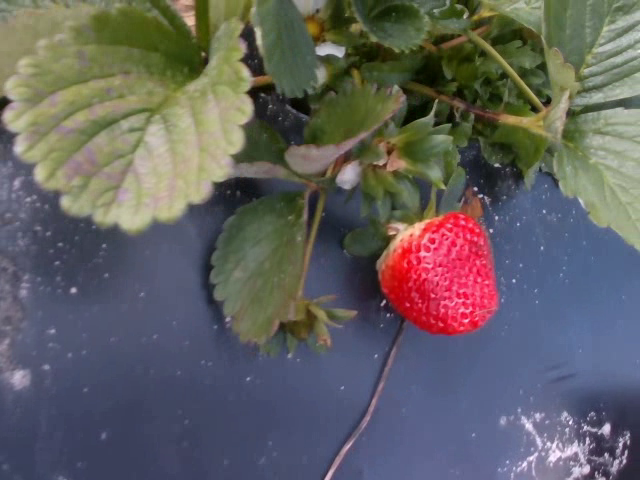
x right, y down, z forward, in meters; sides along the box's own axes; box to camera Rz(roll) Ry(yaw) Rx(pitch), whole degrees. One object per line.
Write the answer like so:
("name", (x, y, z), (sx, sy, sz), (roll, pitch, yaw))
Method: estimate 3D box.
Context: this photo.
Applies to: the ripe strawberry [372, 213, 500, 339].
("ripe strawberry", (0.049, 0.017, 0.245), (0.050, 0.049, 0.053), (1, 44, -28))
